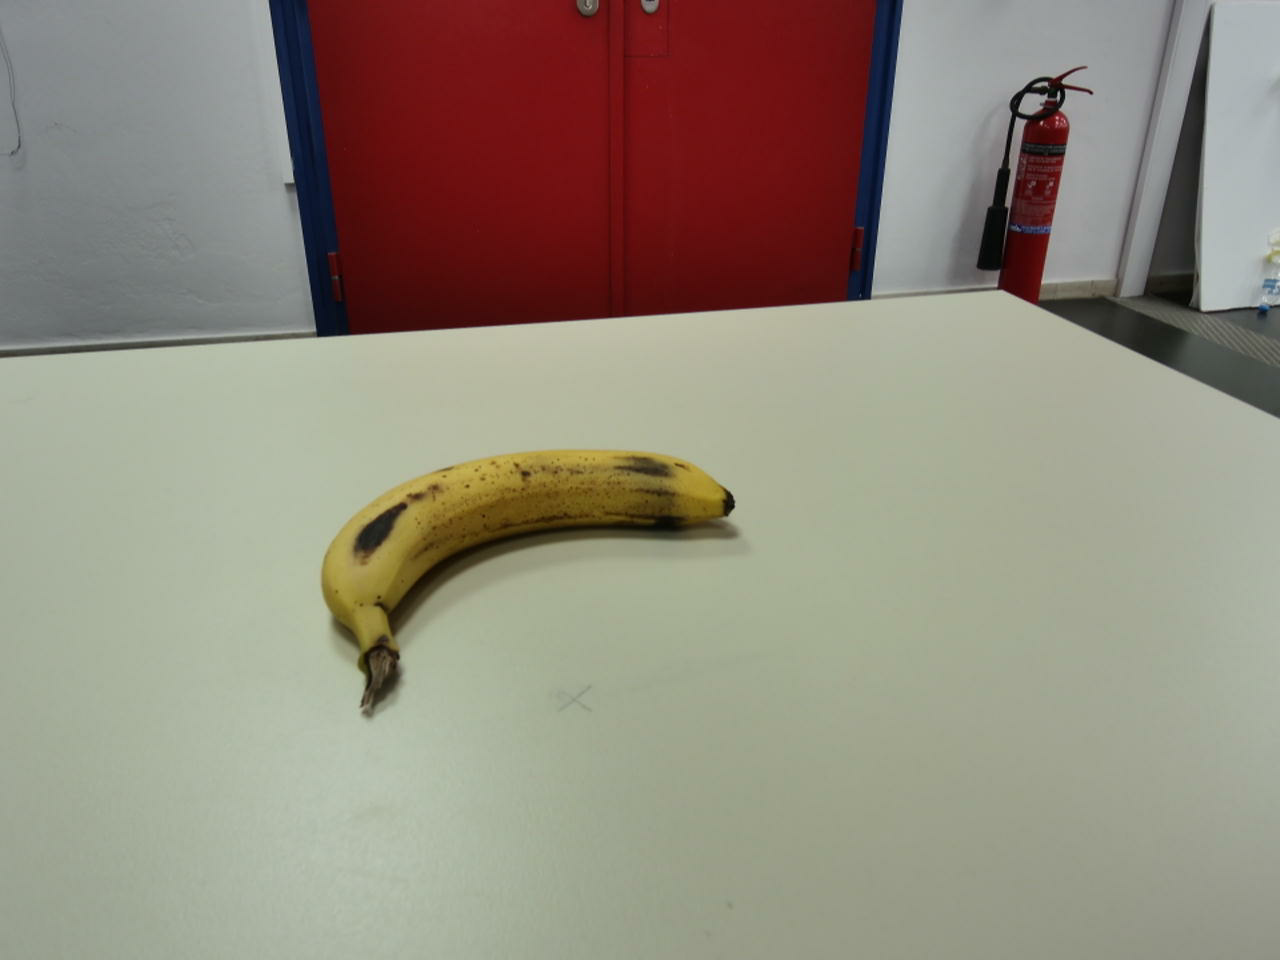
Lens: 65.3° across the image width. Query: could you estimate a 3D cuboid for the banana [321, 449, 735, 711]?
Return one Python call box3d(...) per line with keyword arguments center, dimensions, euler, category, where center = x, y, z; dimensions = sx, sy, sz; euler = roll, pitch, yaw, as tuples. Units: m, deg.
box3d(center=(-0.054, 0.020, 0.432), dimensions=(0.186, 0.038, 0.097), euler=(-20, 31, -37), category="banana")
